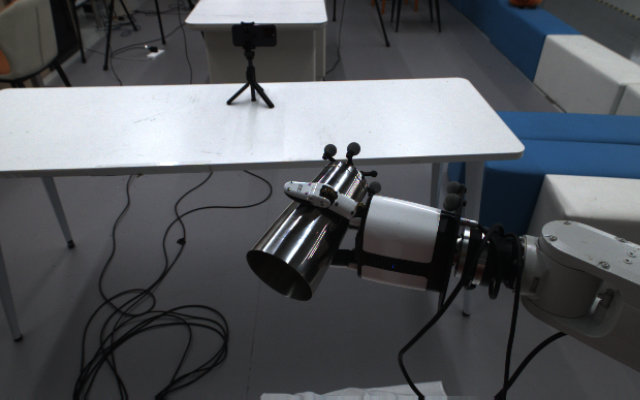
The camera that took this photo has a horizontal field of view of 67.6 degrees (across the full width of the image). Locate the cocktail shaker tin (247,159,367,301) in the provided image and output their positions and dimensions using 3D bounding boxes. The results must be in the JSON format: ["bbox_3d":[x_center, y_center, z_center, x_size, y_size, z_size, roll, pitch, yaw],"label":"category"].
[{"bbox_3d":[-0.004,0.026,0.605,0.093,0.093,0.170,19,55,22],"label":"cocktail shaker tin"}]
